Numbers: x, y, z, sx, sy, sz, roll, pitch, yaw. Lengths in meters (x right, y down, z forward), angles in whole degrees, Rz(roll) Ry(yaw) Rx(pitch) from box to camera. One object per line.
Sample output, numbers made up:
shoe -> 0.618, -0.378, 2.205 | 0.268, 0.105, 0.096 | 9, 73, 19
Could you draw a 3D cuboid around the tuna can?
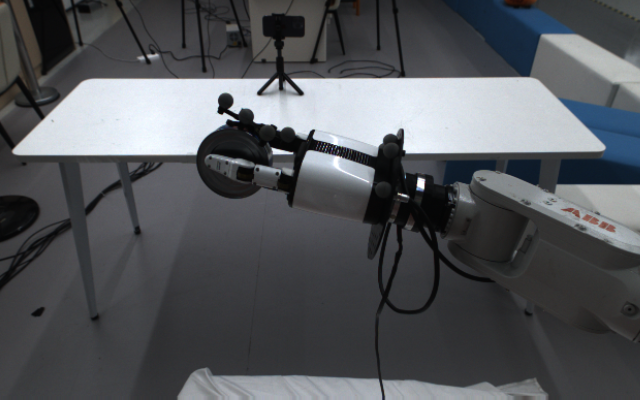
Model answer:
tuna can -> -0.099, -0.047, 0.576 | 0.085, 0.085, 0.034 | 4, 20, 3
